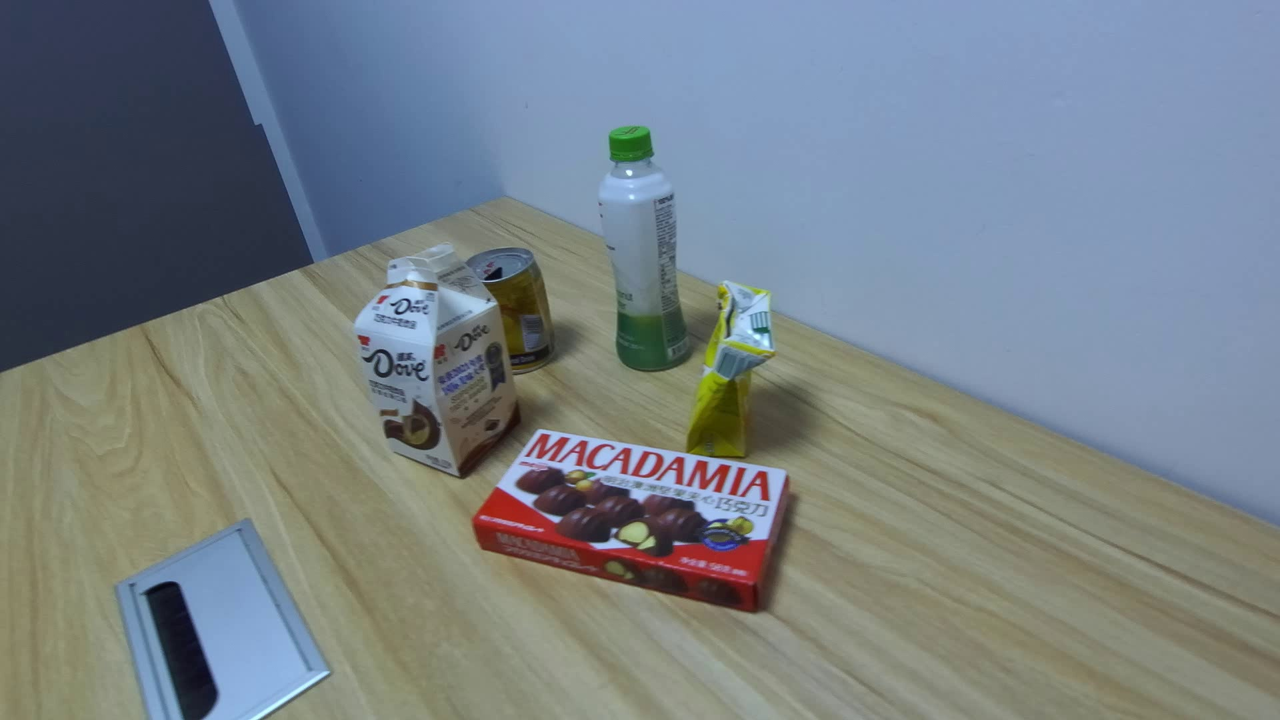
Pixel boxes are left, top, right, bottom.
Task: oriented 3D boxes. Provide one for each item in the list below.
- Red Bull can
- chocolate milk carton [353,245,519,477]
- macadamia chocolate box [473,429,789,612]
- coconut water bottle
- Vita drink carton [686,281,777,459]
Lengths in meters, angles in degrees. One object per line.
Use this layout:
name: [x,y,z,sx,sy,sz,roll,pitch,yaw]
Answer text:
Red Bull can: [-0.112,-0.043,0.605,0.072,0.092,0.072,-3,35,3]
chocolate milk carton: [-0.145,-0.006,0.499,0.076,0.156,0.074,14,37,28]
macadamia chocolate box: [-0.004,0.094,0.442,0.177,0.027,0.096,8,36,20]
coconut water bottle: [0.002,-0.084,0.556,0.063,0.189,0.063,-5,31,3]
Vita drink carton: [0.063,0.010,0.481,0.042,0.108,0.087,12,38,4]
